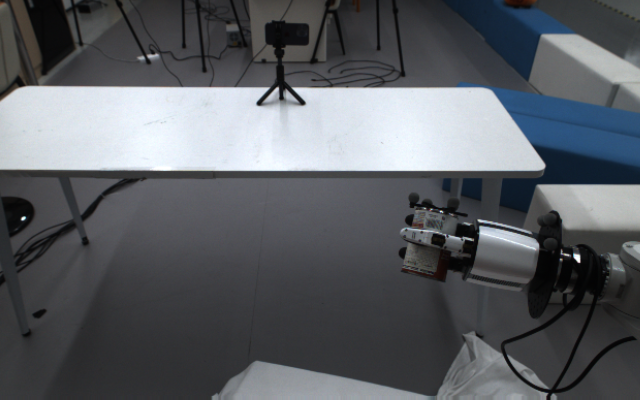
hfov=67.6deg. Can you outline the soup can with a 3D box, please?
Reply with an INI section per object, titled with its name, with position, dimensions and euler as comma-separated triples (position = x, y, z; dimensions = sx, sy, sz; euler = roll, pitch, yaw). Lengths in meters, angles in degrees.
[soup can]
position = 0.169, 0.068, 0.736
dimensions = 0.067, 0.101, 0.067
euler = 13, -6, 1
